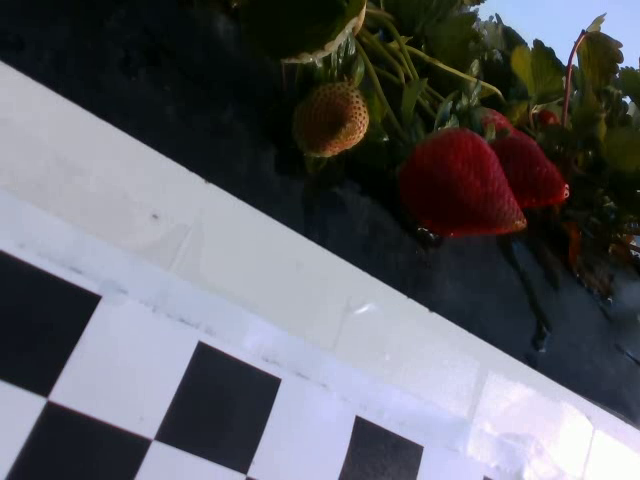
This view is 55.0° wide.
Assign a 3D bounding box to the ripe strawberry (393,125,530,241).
[{"bbox_3d":[0.062,-0.022,0.252,0.050,0.050,0.065,-13,31,-28],"label":"ripe strawberry"}]

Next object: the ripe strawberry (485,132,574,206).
[{"bbox_3d":[0.107,-0.031,0.325,0.055,0.042,0.044,28,55,36],"label":"ripe strawberry"}]
